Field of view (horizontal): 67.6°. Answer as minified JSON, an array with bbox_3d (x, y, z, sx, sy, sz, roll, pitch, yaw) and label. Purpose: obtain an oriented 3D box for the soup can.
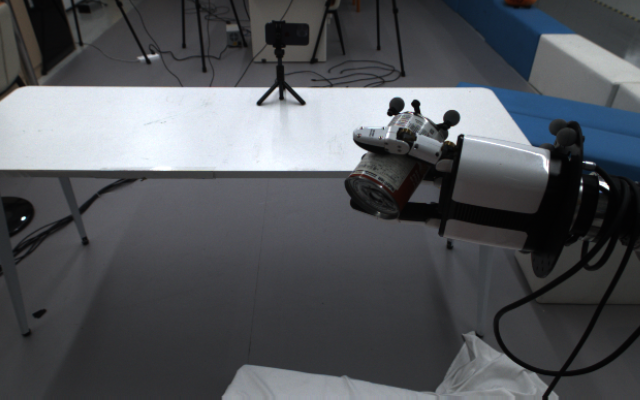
[{"bbox_3d":[0.082,-0.041,0.529,0.067,0.067,0.101,25,66,30],"label":"soup can"}]
